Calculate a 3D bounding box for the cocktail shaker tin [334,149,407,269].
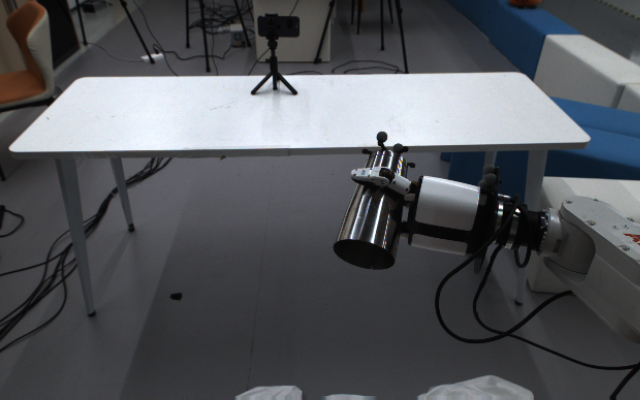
[{"bbox_3d":[0.086,0.008,0.734,0.093,0.093,0.170,11,59,12],"label":"cocktail shaker tin"}]
